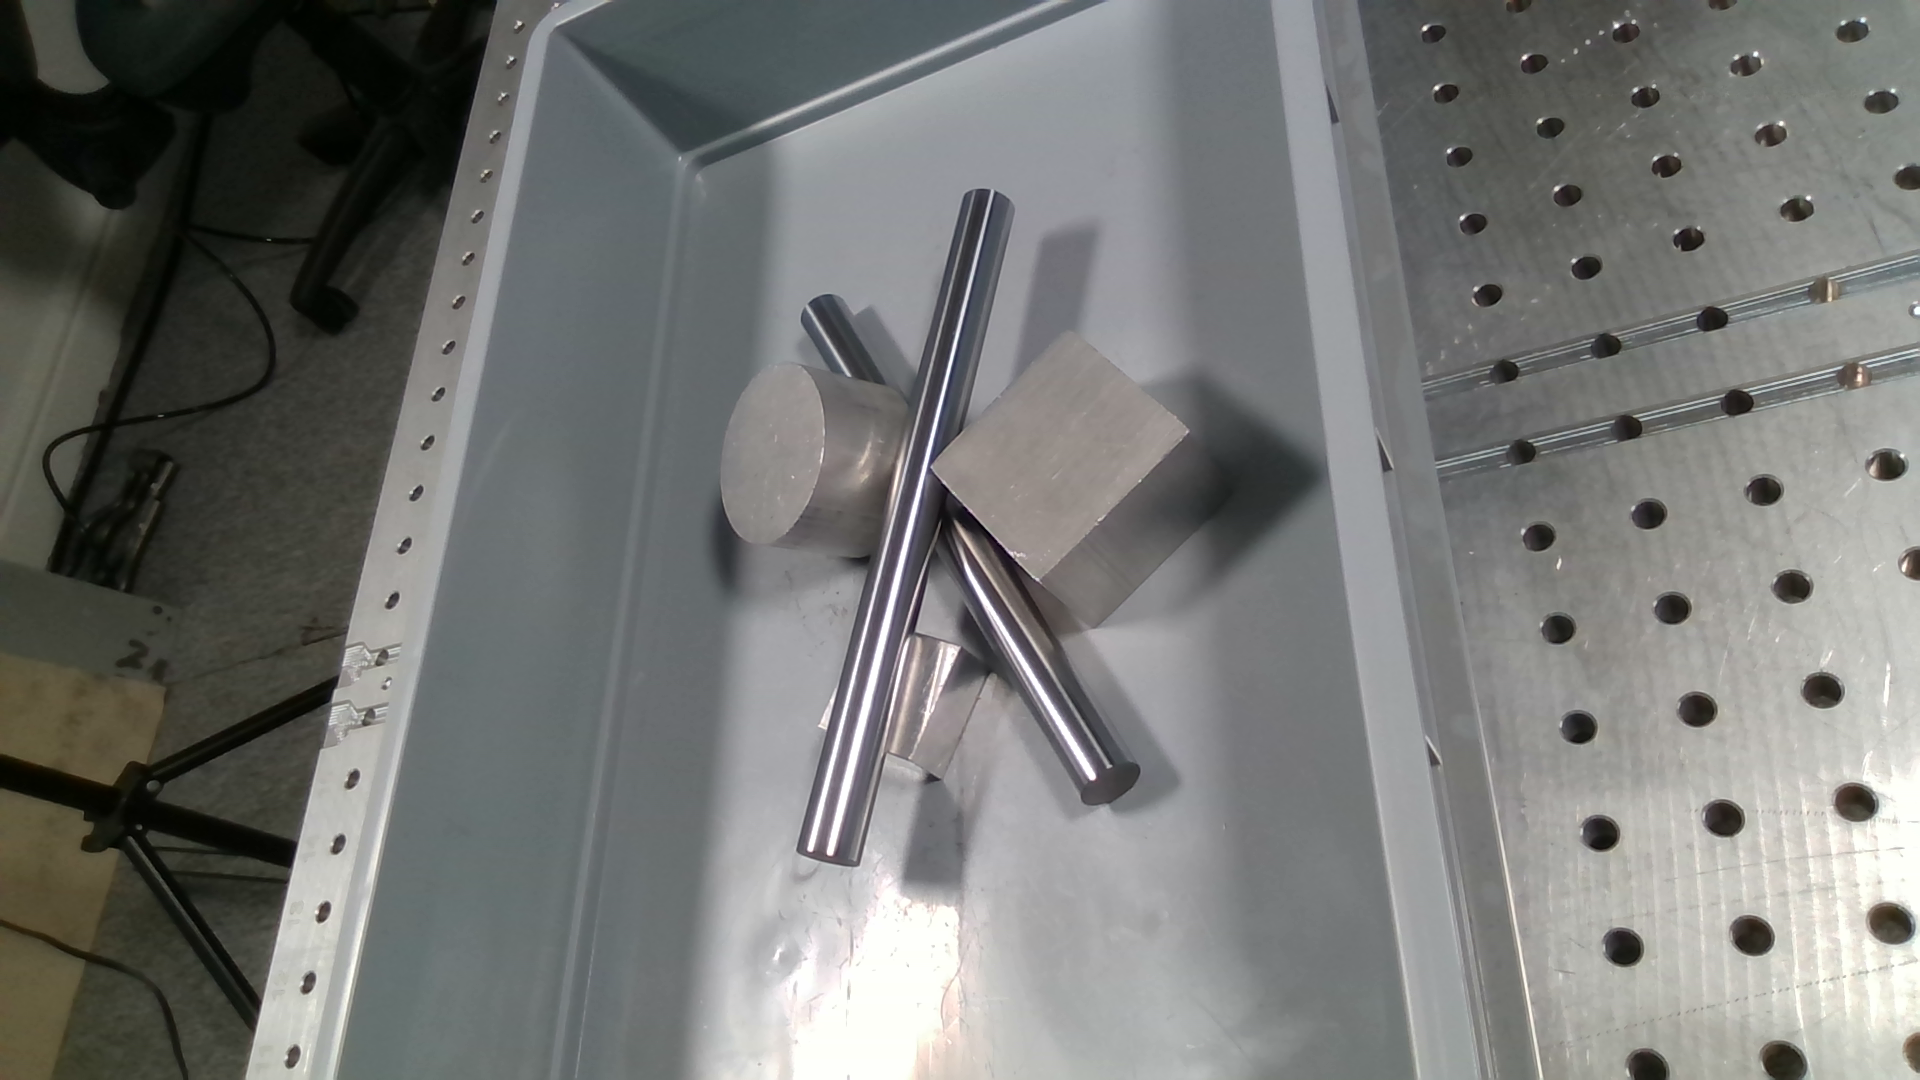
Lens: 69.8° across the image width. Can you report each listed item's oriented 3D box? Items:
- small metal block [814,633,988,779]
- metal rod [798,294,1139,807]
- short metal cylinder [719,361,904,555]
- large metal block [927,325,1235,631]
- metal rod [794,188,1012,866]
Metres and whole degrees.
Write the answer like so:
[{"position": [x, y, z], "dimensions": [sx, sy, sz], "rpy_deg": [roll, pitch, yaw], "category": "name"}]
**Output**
[{"position": [-0.024, 0.064, 0.563], "dimensions": [0.050, 0.025, 0.050], "rpy_deg": [14, 73, 36], "category": "small metal block"}, {"position": [-0.007, -0.011, 0.594], "dimensions": [0.025, 0.025, 0.299], "rpy_deg": [-38, 52, 9], "category": "metal rod"}, {"position": [-0.064, -0.034, 0.607], "dimensions": [0.080, 0.050, 0.080], "rpy_deg": [-12, 74, 48], "category": "short metal cylinder"}, {"position": [0.048, -0.025, 0.551], "dimensions": [0.080, 0.050, 0.080], "rpy_deg": [-45, 51, 4], "category": "large metal block"}, {"position": [-0.019, -0.016, 0.572], "dimensions": [0.025, 0.025, 0.299], "rpy_deg": [-1, 65, 31], "category": "metal rod"}]
